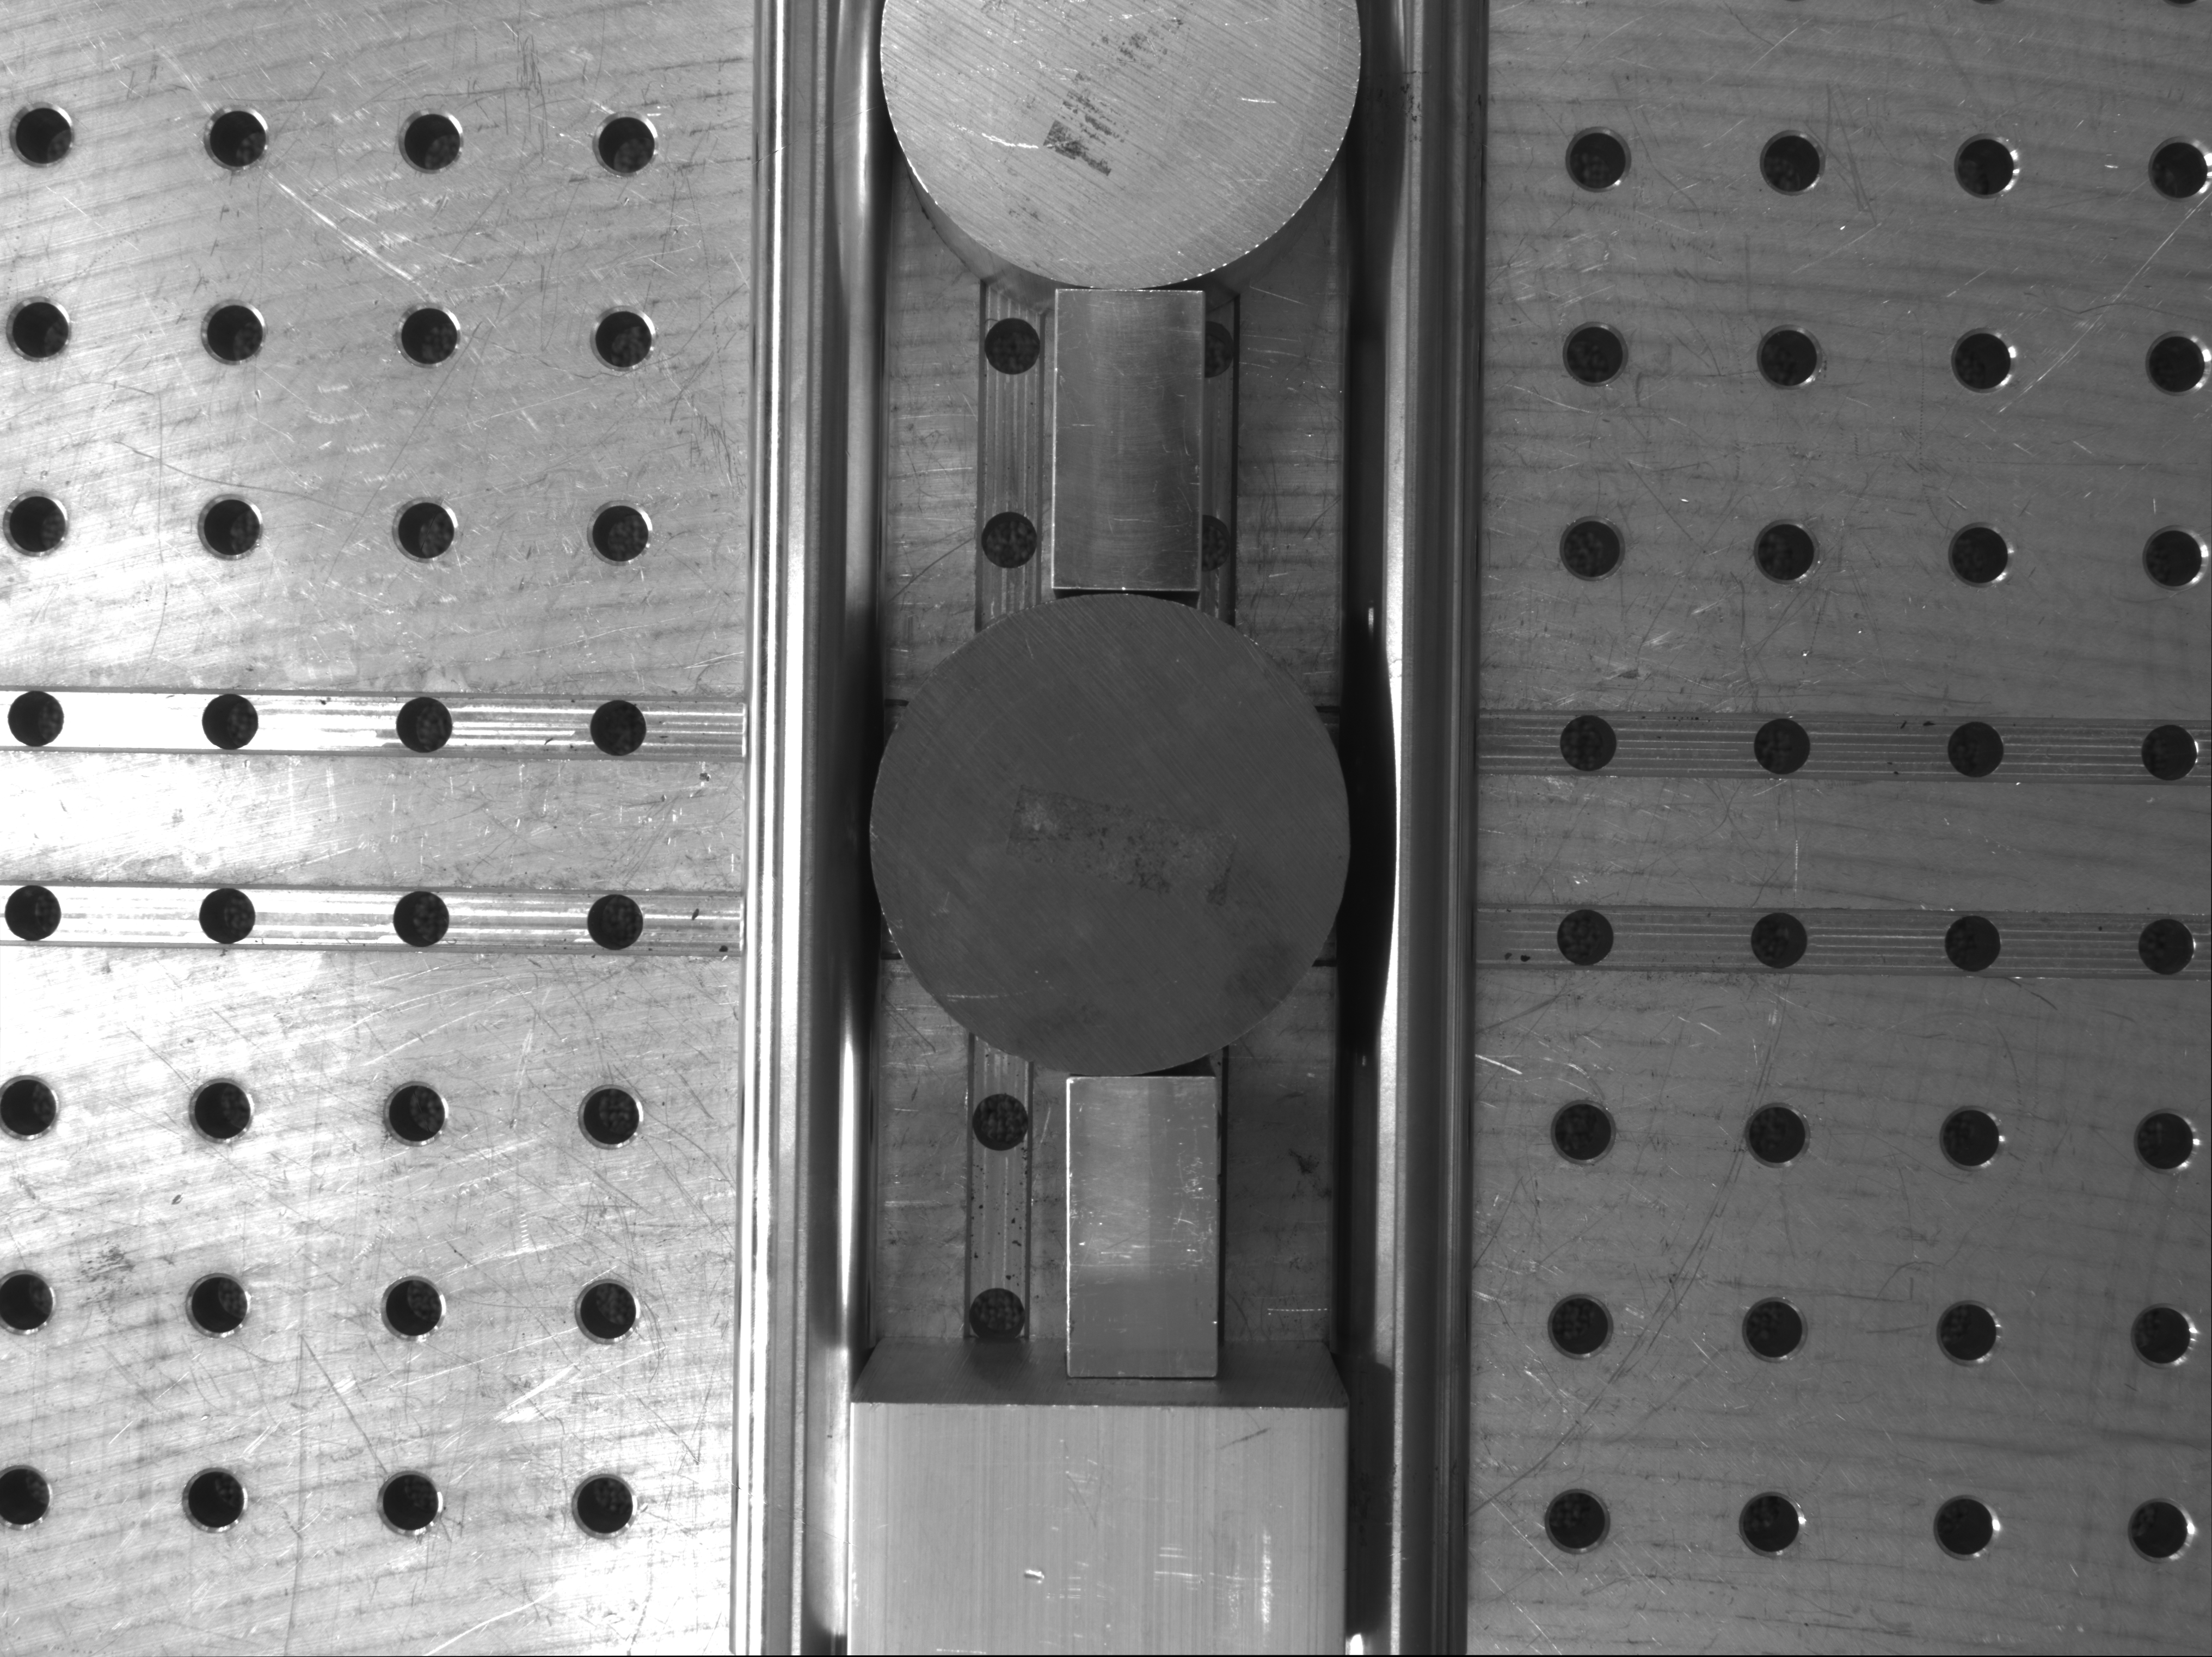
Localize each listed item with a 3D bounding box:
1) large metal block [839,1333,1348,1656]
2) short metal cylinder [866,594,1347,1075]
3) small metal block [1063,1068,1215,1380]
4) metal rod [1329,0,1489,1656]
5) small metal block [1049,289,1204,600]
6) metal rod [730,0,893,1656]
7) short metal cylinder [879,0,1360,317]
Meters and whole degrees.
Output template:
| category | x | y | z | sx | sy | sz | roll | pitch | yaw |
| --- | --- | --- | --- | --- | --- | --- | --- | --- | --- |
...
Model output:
| category | x | y | z | sx | sy | sz | roll | pitch | yaw |
| --- | --- | --- | --- | --- | --- | --- | --- | --- | --- |
| large metal block | -0.002 | 0.116 | 0.620 | 0.080 | 0.080 | 0.050 | 1 | 90 | 0 |
| short metal cylinder | 0.000 | 0.001 | 0.635 | 0.080 | 0.050 | 0.080 | 0 | 90 | 0 |
| small metal block | 0.006 | 0.067 | 0.634 | 0.025 | 0.050 | 0.050 | 0 | 90 | 0 |
| metal rod | 0.053 | -0.005 | 0.647 | 0.025 | 0.025 | 0.300 | 1 | 90 | 0 |
| small metal block | 0.004 | -0.064 | 0.634 | 0.025 | 0.050 | 0.050 | 1 | 90 | 0 |
| metal rod | -0.052 | -0.005 | 0.646 | 0.025 | 0.025 | 0.300 | 1 | 90 | 0 |
| short metal cylinder | 0.002 | -0.129 | 0.635 | 0.080 | 0.050 | 0.080 | 0 | 90 | 0 |
